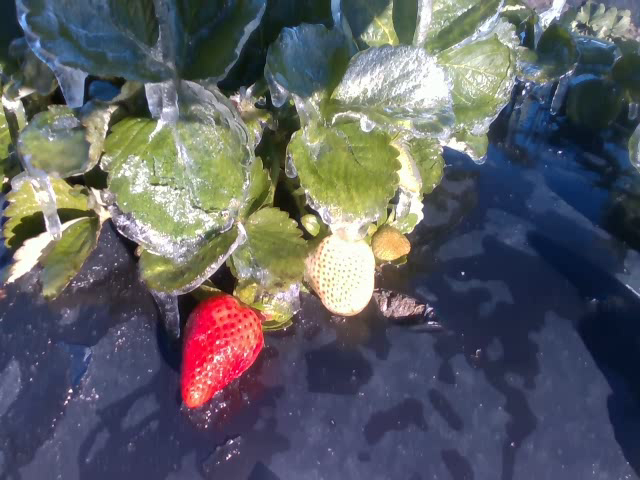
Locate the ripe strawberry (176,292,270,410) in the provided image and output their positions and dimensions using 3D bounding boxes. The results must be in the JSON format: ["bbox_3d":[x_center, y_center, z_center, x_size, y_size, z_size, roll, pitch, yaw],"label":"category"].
[{"bbox_3d":[-0.050,0.048,0.273,0.041,0.052,0.040,18,-25,16],"label":"ripe strawberry"}]
